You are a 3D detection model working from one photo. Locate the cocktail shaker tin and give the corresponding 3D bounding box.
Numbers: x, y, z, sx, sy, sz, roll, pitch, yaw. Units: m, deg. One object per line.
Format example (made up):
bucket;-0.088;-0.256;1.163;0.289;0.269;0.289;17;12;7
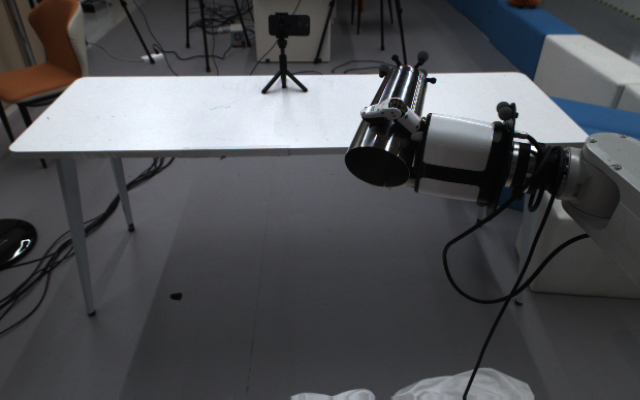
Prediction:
cocktail shaker tin;0.104;-0.114;0.703;0.093;0.093;0.170;13;60;16
